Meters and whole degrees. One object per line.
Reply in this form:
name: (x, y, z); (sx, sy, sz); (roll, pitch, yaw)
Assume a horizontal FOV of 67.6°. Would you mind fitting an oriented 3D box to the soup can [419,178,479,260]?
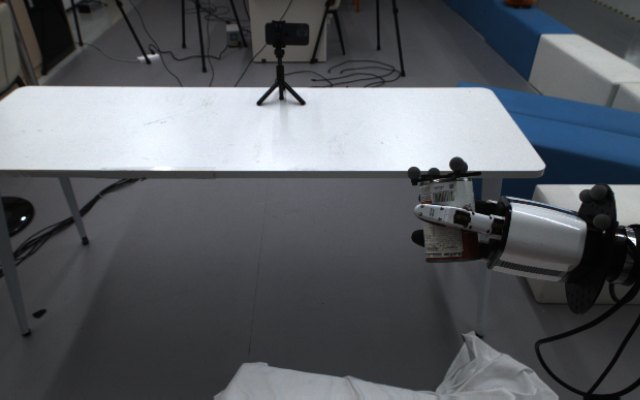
soup can: (0.166, 0.025, 0.615); (0.067, 0.101, 0.067); (-5, -5, 0)
